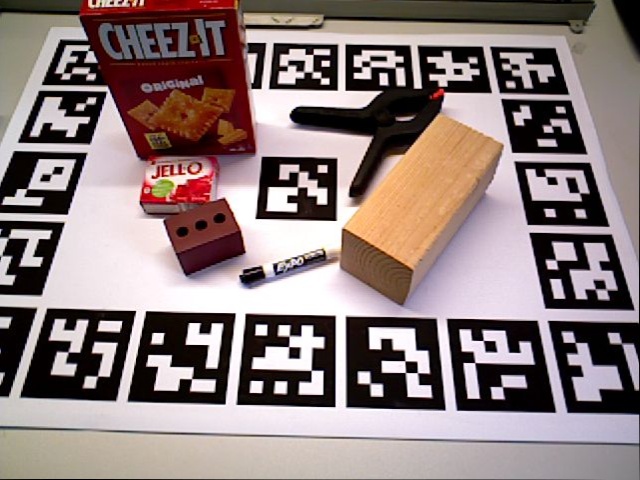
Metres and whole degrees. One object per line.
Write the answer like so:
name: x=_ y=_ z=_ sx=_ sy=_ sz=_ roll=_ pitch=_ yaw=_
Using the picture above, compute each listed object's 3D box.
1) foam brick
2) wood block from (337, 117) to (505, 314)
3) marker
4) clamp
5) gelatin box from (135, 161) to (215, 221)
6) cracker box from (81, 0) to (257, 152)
foam brick: x=-0.138 y=0.002 z=0.620 sx=0.077 sy=0.052 sz=0.052 roll=-21 pitch=64 yaw=-11
wood block: x=0.113 y=-0.032 z=0.618 sx=0.090 sy=0.093 sz=0.202 roll=31 pitch=62 yaw=20
marker: x=-0.049 y=0.038 z=0.616 sx=0.120 sy=0.020 sz=0.019 roll=-17 pitch=63 yaw=-8
clamp: x=0.076 y=-0.149 z=0.713 sx=0.200 sy=0.037 sz=0.164 roll=-27 pitch=64 yaw=-13
gelatin box: x=-0.178 y=-0.061 z=0.673 sx=0.089 sy=0.031 sz=0.072 roll=0 pitch=62 yaw=1
cracker box: x=-0.161 y=-0.199 z=0.635 sx=0.163 sy=0.218 sz=0.071 roll=-1 pitch=58 yaw=-3
